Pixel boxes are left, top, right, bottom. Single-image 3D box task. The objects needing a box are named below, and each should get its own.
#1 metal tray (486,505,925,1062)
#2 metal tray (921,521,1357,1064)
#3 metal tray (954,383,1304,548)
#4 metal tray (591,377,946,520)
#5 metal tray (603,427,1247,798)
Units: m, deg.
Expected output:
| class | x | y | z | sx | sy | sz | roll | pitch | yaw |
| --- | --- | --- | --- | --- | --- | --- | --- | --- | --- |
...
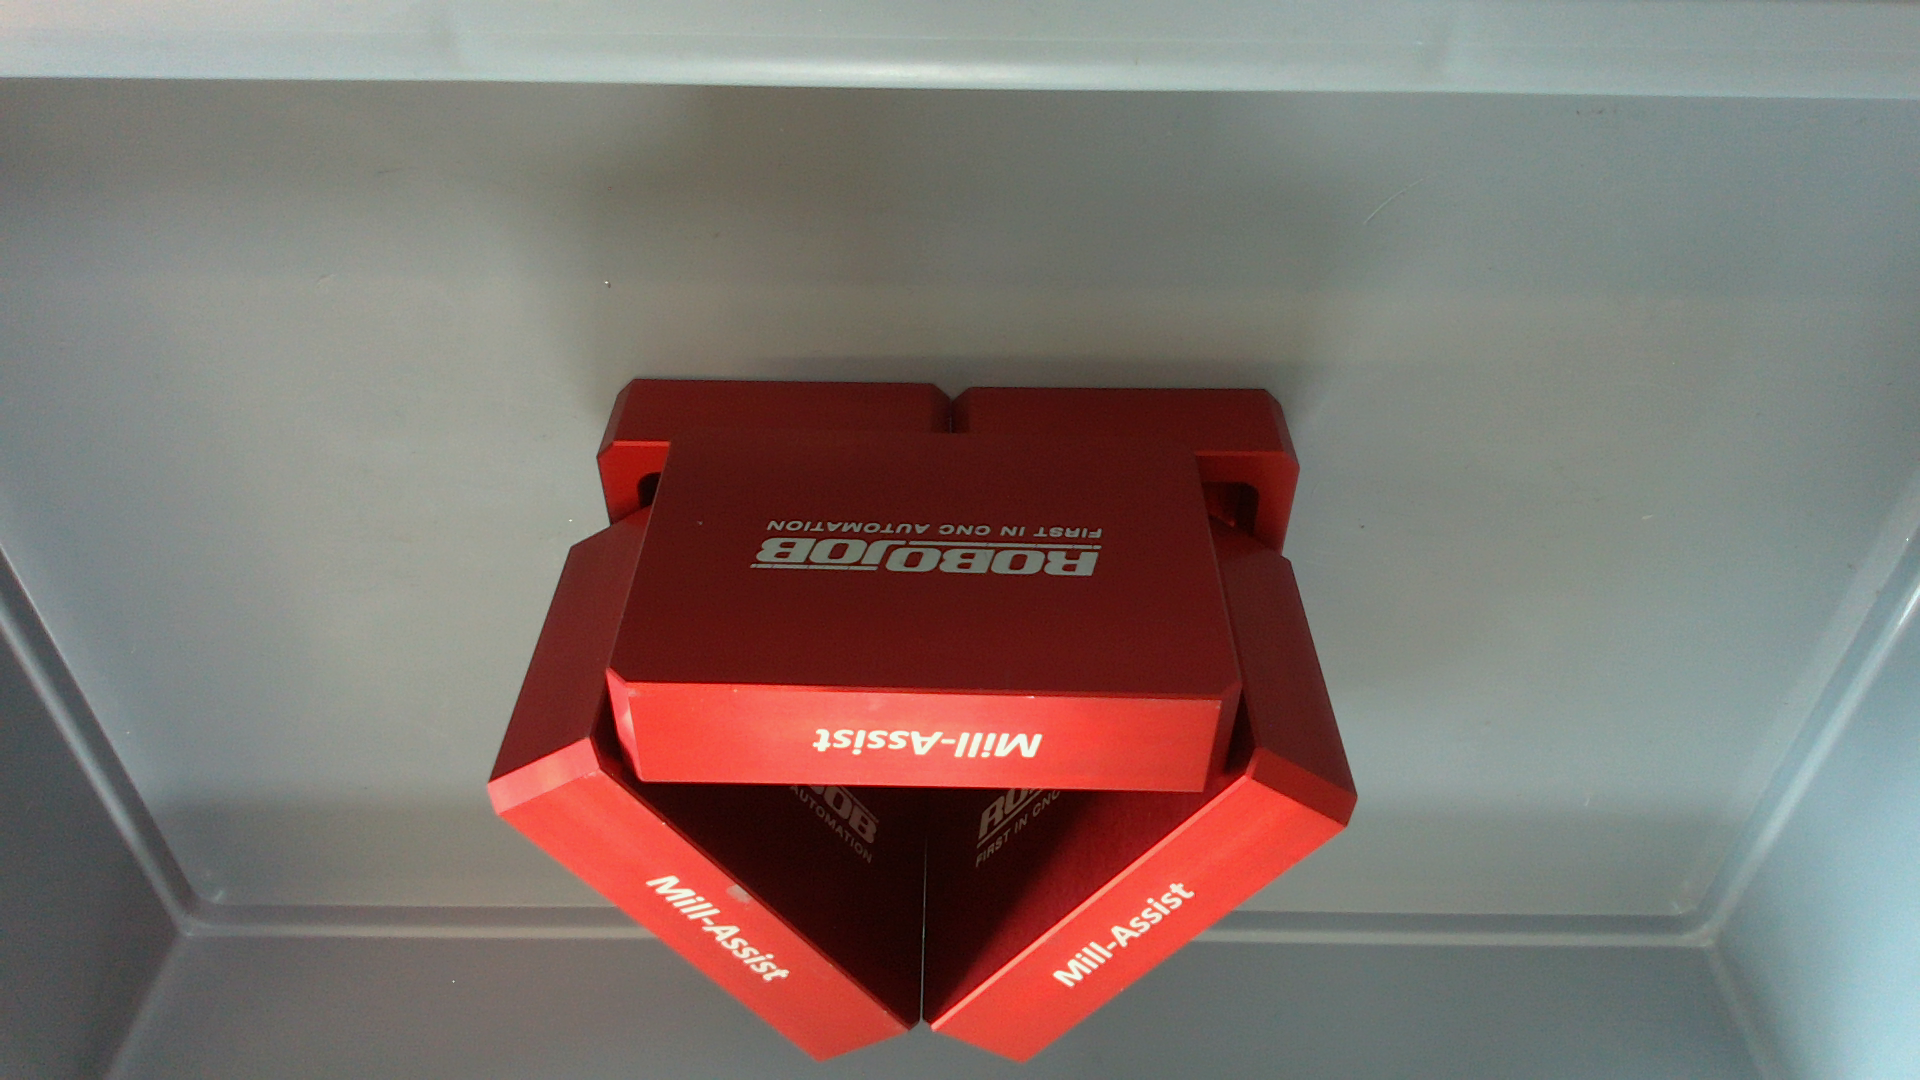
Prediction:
| class | x | y | z | sx | sy | sz | roll | pitch | yaw |
| --- | --- | --- | --- | --- | --- | --- | --- | --- | --- |
| metal tray | -0.057 | 0.064 | 0.361 | 0.030 | 0.090 | 0.130 | -25 | 126 | 20 |
| metal tray | 0.039 | 0.067 | 0.362 | 0.030 | 0.090 | 0.130 | 28 | 125 | -22 |
| metal tray | 0.042 | 0.018 | 0.401 | 0.090 | 0.030 | 0.130 | 1 | 129 | -1 |
| metal tray | -0.049 | 0.016 | 0.400 | 0.090 | 0.030 | 0.130 | 0 | 129 | 0 |
| metal tray | -0.007 | 0.014 | 0.317 | 0.130 | 0.090 | 0.030 | 2 | 130 | -1 |
